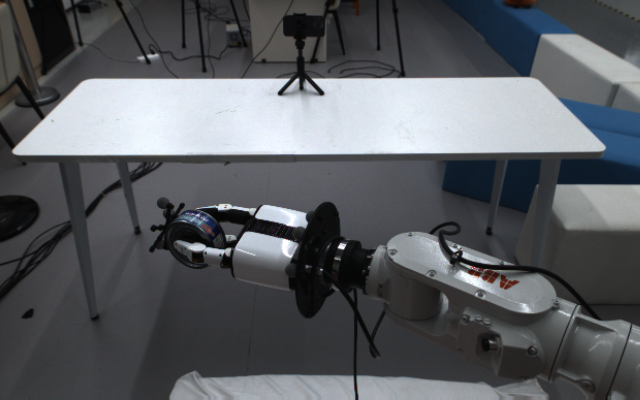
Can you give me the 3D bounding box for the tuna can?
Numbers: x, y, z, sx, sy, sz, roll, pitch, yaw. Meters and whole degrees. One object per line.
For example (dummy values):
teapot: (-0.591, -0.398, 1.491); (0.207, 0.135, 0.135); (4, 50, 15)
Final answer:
tuna can: (-0.183, 0.059, 0.712); (0.085, 0.085, 0.034); (13, 31, 15)
